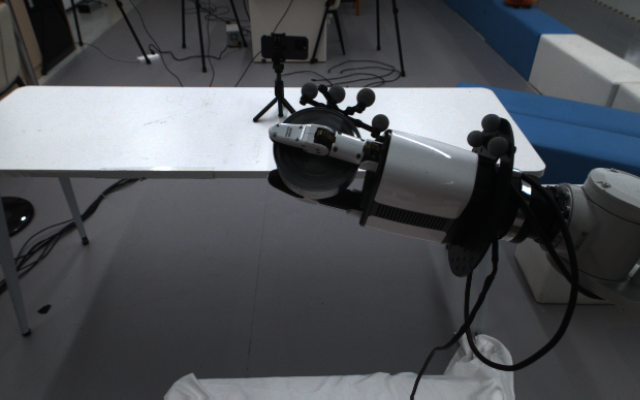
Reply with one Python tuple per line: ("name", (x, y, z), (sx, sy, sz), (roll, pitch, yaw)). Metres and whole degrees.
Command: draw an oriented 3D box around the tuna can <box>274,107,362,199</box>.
("tuna can", (0.000, -0.046, 0.477), (0.085, 0.034, 0.085), (0, 72, 0))
